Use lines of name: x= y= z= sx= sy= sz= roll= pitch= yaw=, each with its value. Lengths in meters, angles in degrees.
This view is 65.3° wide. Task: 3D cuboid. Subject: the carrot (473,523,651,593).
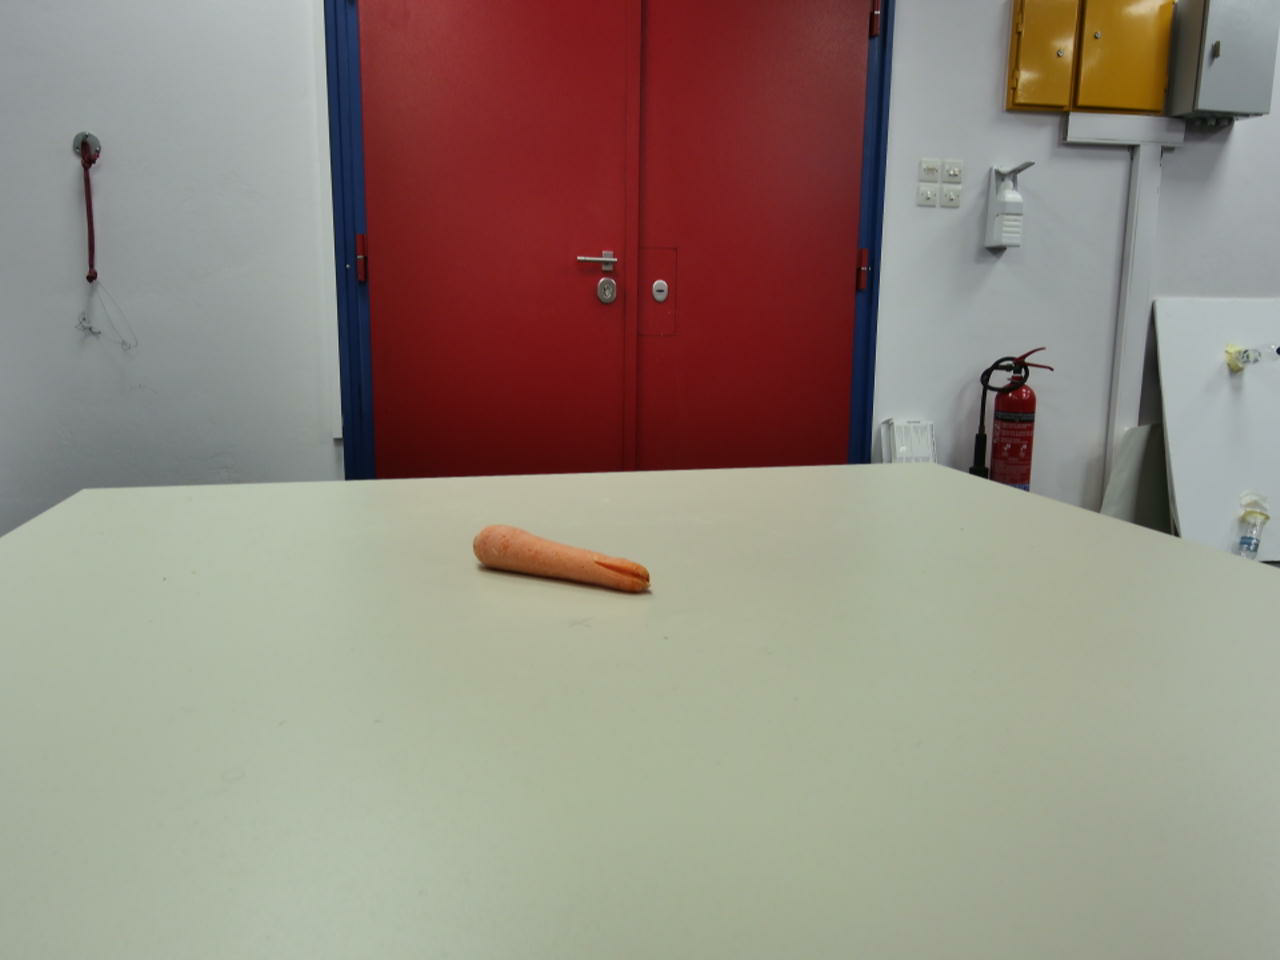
carrot: x=-0.053 y=0.049 z=0.638 sx=0.136 sy=0.032 sz=0.030 roll=6 pitch=9 yaw=32
